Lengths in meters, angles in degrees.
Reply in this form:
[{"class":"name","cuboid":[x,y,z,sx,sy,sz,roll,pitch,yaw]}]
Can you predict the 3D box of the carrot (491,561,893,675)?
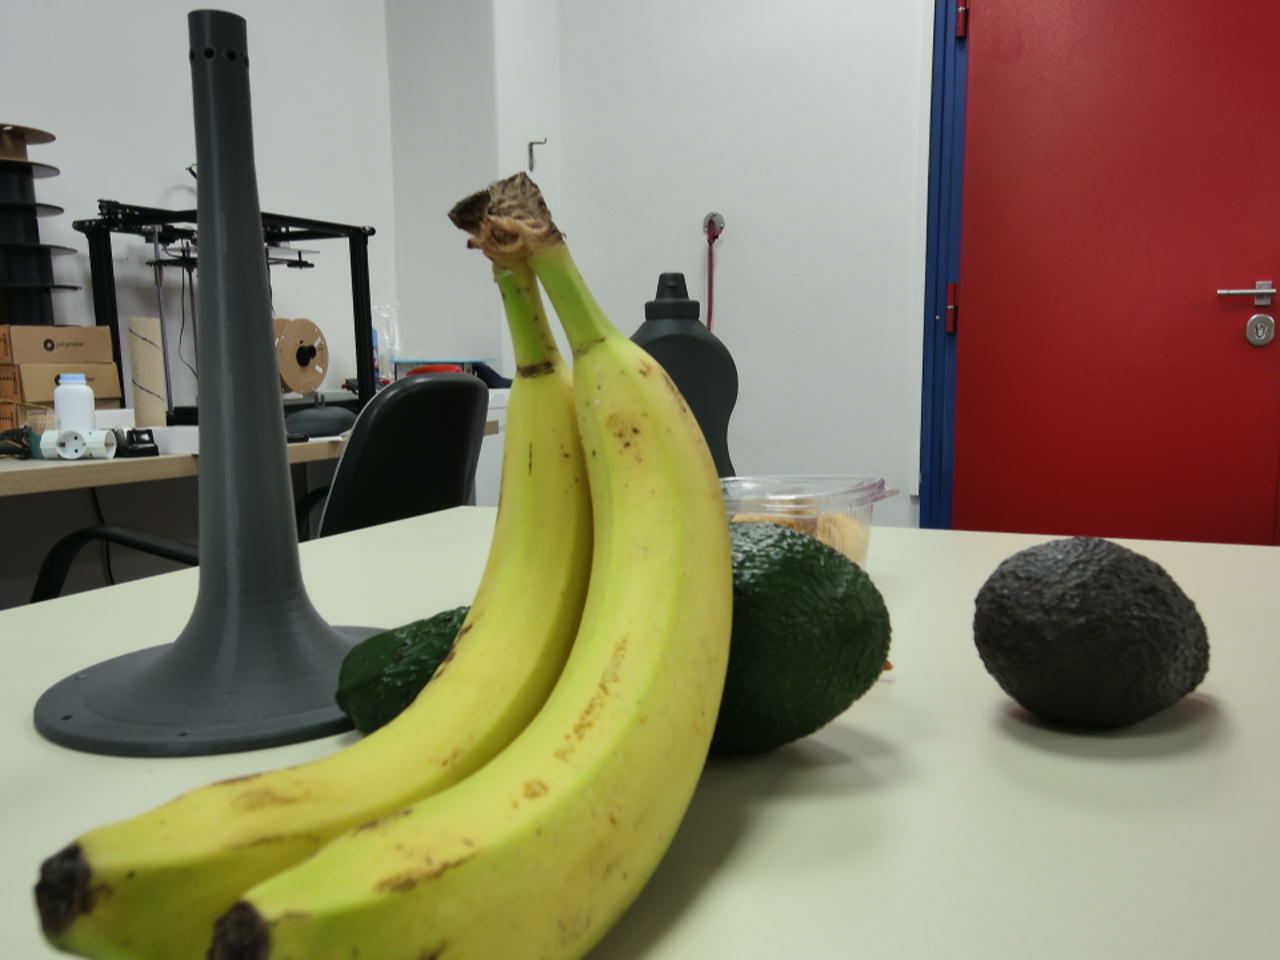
[{"class":"carrot","cuboid":[0.019,0.062,0.465,0.196,0.041,0.039,2,4,24]}]
